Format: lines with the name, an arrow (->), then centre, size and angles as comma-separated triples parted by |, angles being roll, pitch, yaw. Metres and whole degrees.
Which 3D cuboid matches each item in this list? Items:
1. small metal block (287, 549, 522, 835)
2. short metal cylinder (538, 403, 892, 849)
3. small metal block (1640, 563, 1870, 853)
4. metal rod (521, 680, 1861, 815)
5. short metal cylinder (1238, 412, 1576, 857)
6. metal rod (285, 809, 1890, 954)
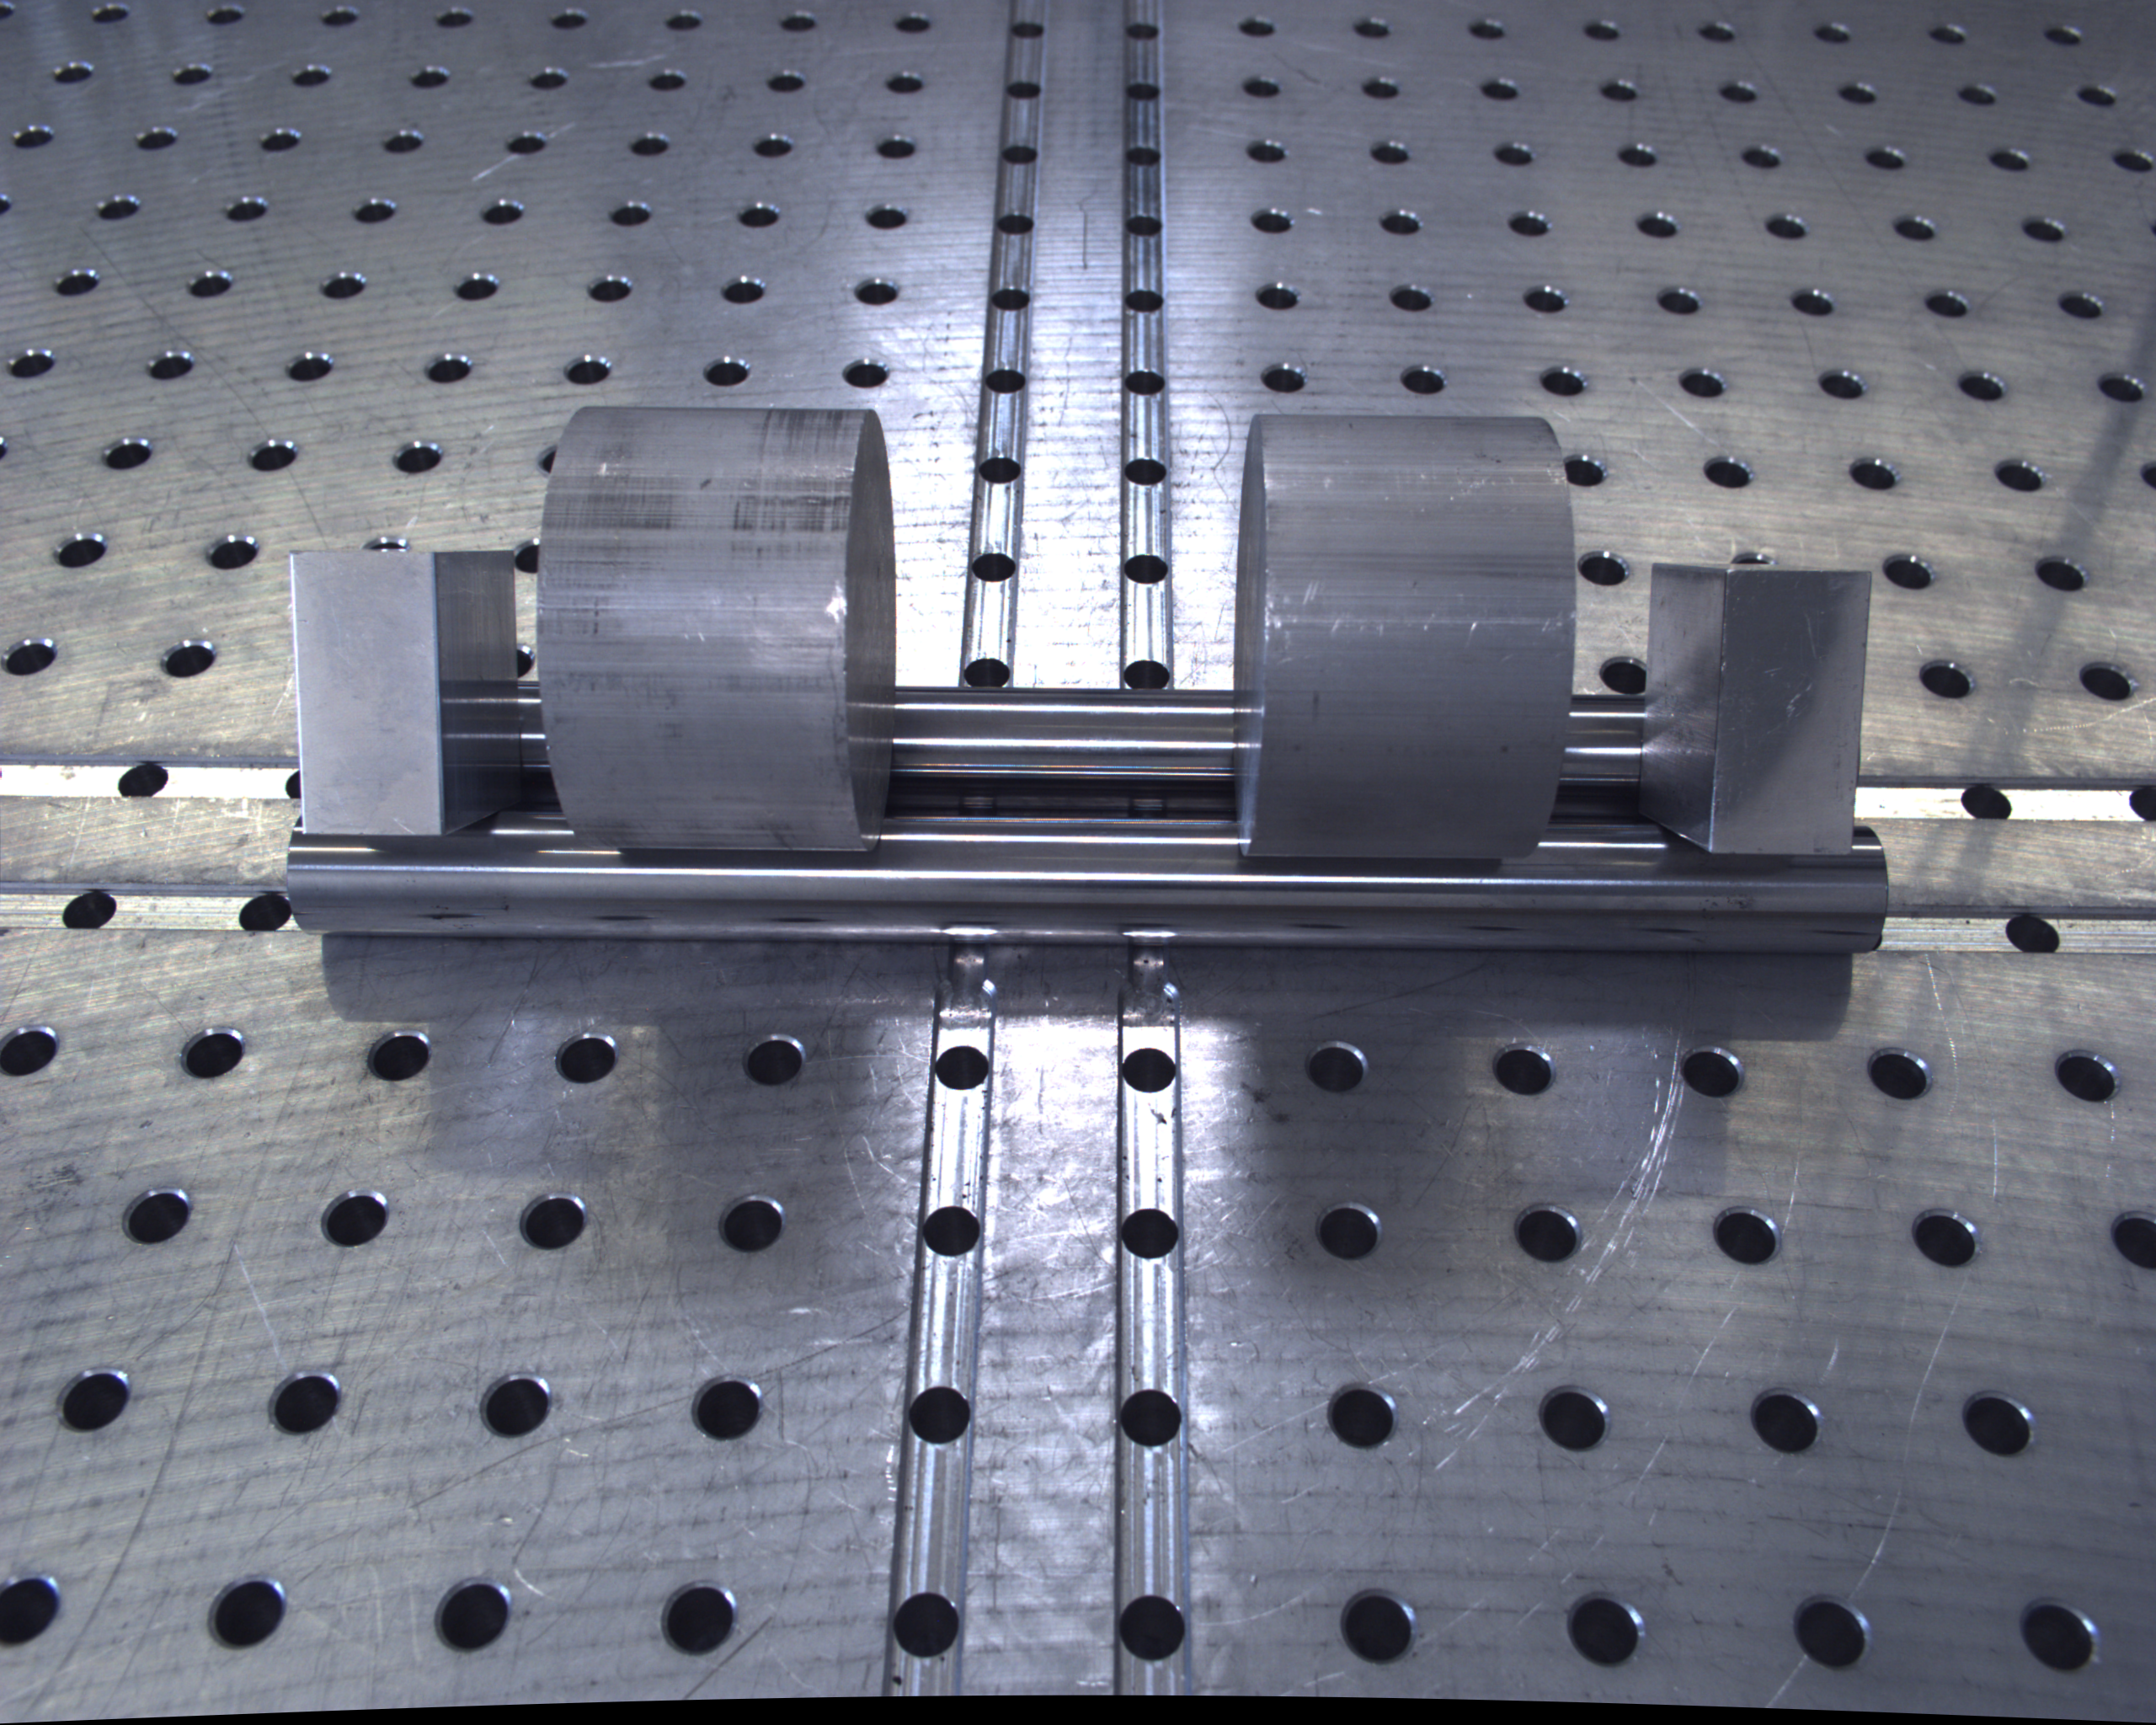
small metal block -> -0.124, -0.033, 0.389 | 0.025, 0.050, 0.050 | 0, 8, 1
short metal cylinder -> -0.062, -0.042, 0.379 | 0.050, 0.080, 0.080 | 1, 50, 0
small metal block -> 0.124, -0.030, 0.388 | 0.025, 0.050, 0.050 | 0, 9, 1
metal rod -> 0.005, -0.023, 0.427 | 0.302, 0.025, 0.025 | 1, 50, 0
short metal cylinder -> 0.056, -0.041, 0.378 | 0.050, 0.080, 0.080 | 1, 50, 0
metal rod -> 0.002, 0.003, 0.405 | 0.302, 0.025, 0.025 | 1, 50, 0
